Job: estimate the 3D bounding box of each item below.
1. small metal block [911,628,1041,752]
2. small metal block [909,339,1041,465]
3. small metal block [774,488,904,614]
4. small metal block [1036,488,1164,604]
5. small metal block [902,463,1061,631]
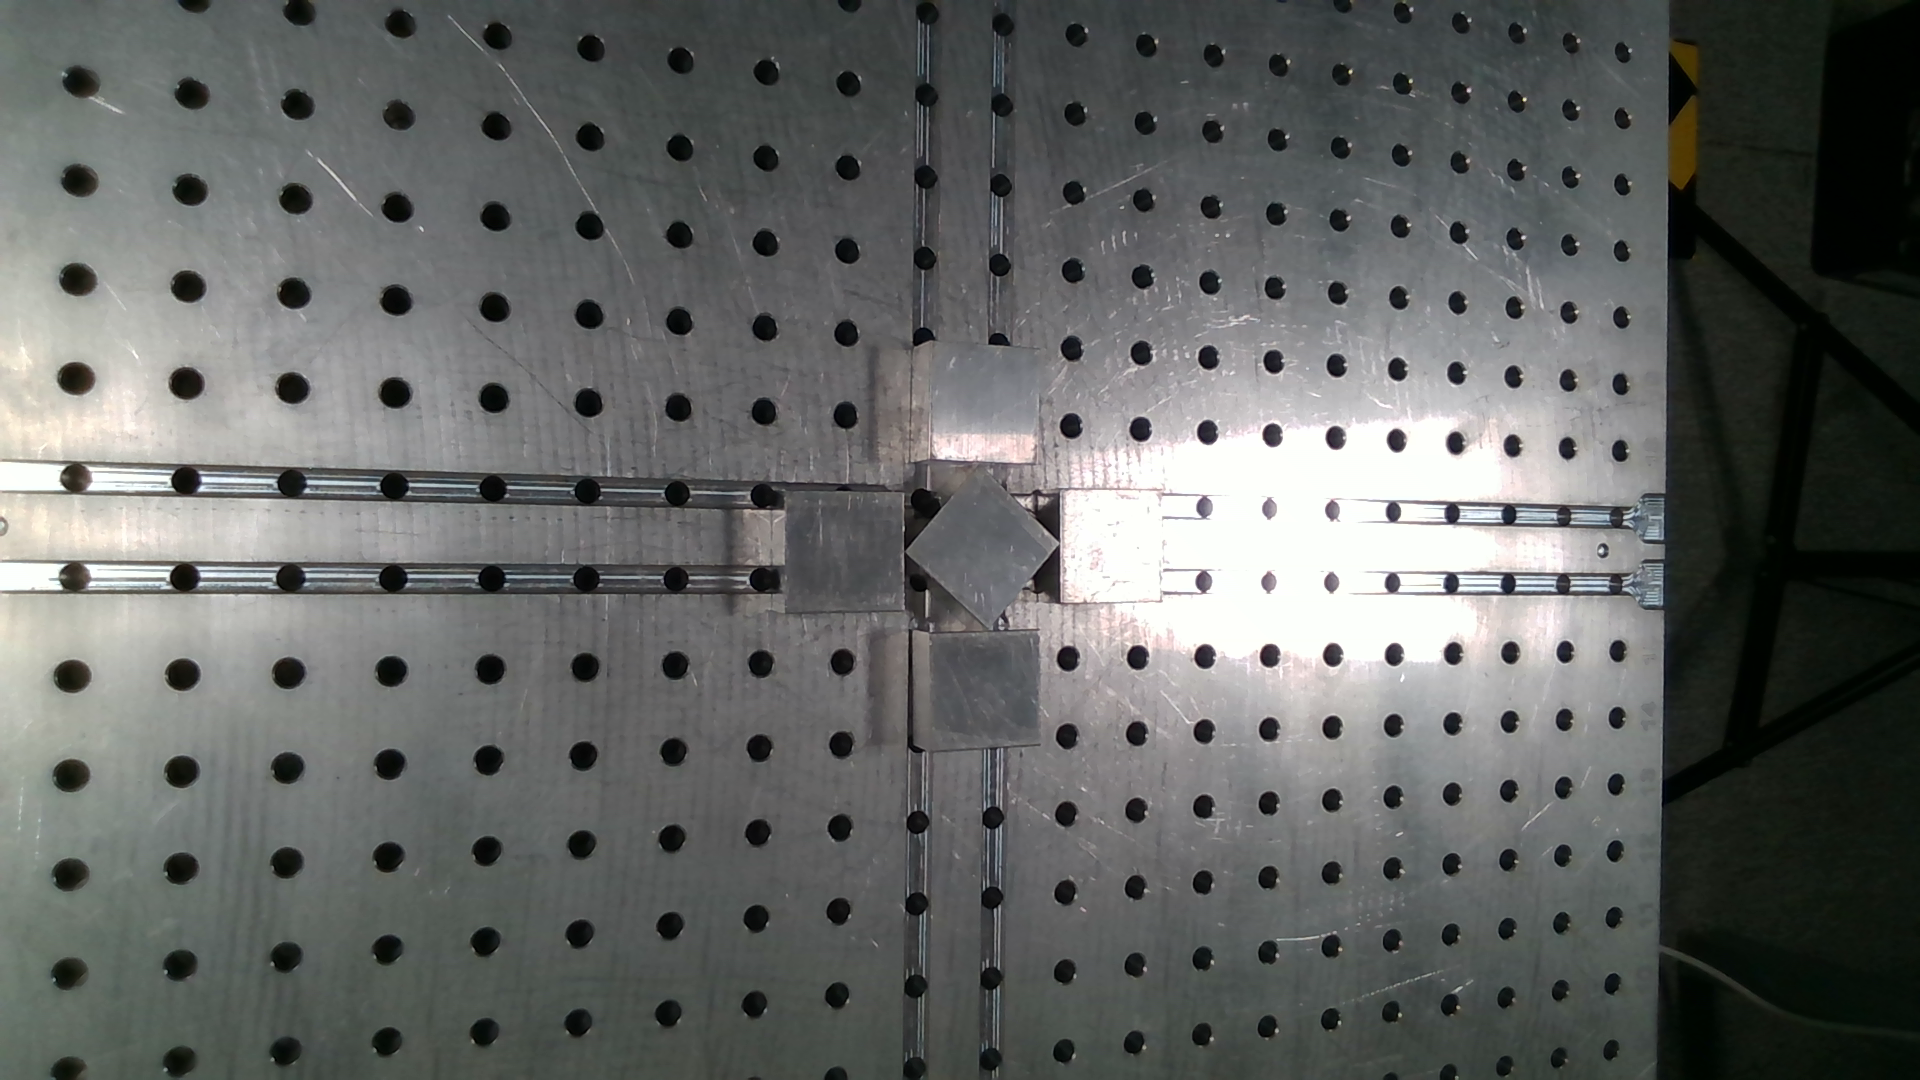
[{"bbox_3d":[0.007,0.063,0.591,0.050,0.025,0.050,0,90,-20],"label":"small metal block"},{"bbox_3d":[0.006,-0.058,0.590,0.050,0.025,0.050,1,90,-20],"label":"small metal block"},{"bbox_3d":[-0.051,0.005,0.569,0.050,0.025,0.050,0,90,-20],"label":"small metal block"},{"bbox_3d":[0.062,0.002,0.611,0.050,0.025,0.050,-1,90,-20],"label":"small metal block"},{"bbox_3d":[0.006,0.003,0.590,0.050,0.025,0.050,44,76,-15],"label":"small metal block"}]
